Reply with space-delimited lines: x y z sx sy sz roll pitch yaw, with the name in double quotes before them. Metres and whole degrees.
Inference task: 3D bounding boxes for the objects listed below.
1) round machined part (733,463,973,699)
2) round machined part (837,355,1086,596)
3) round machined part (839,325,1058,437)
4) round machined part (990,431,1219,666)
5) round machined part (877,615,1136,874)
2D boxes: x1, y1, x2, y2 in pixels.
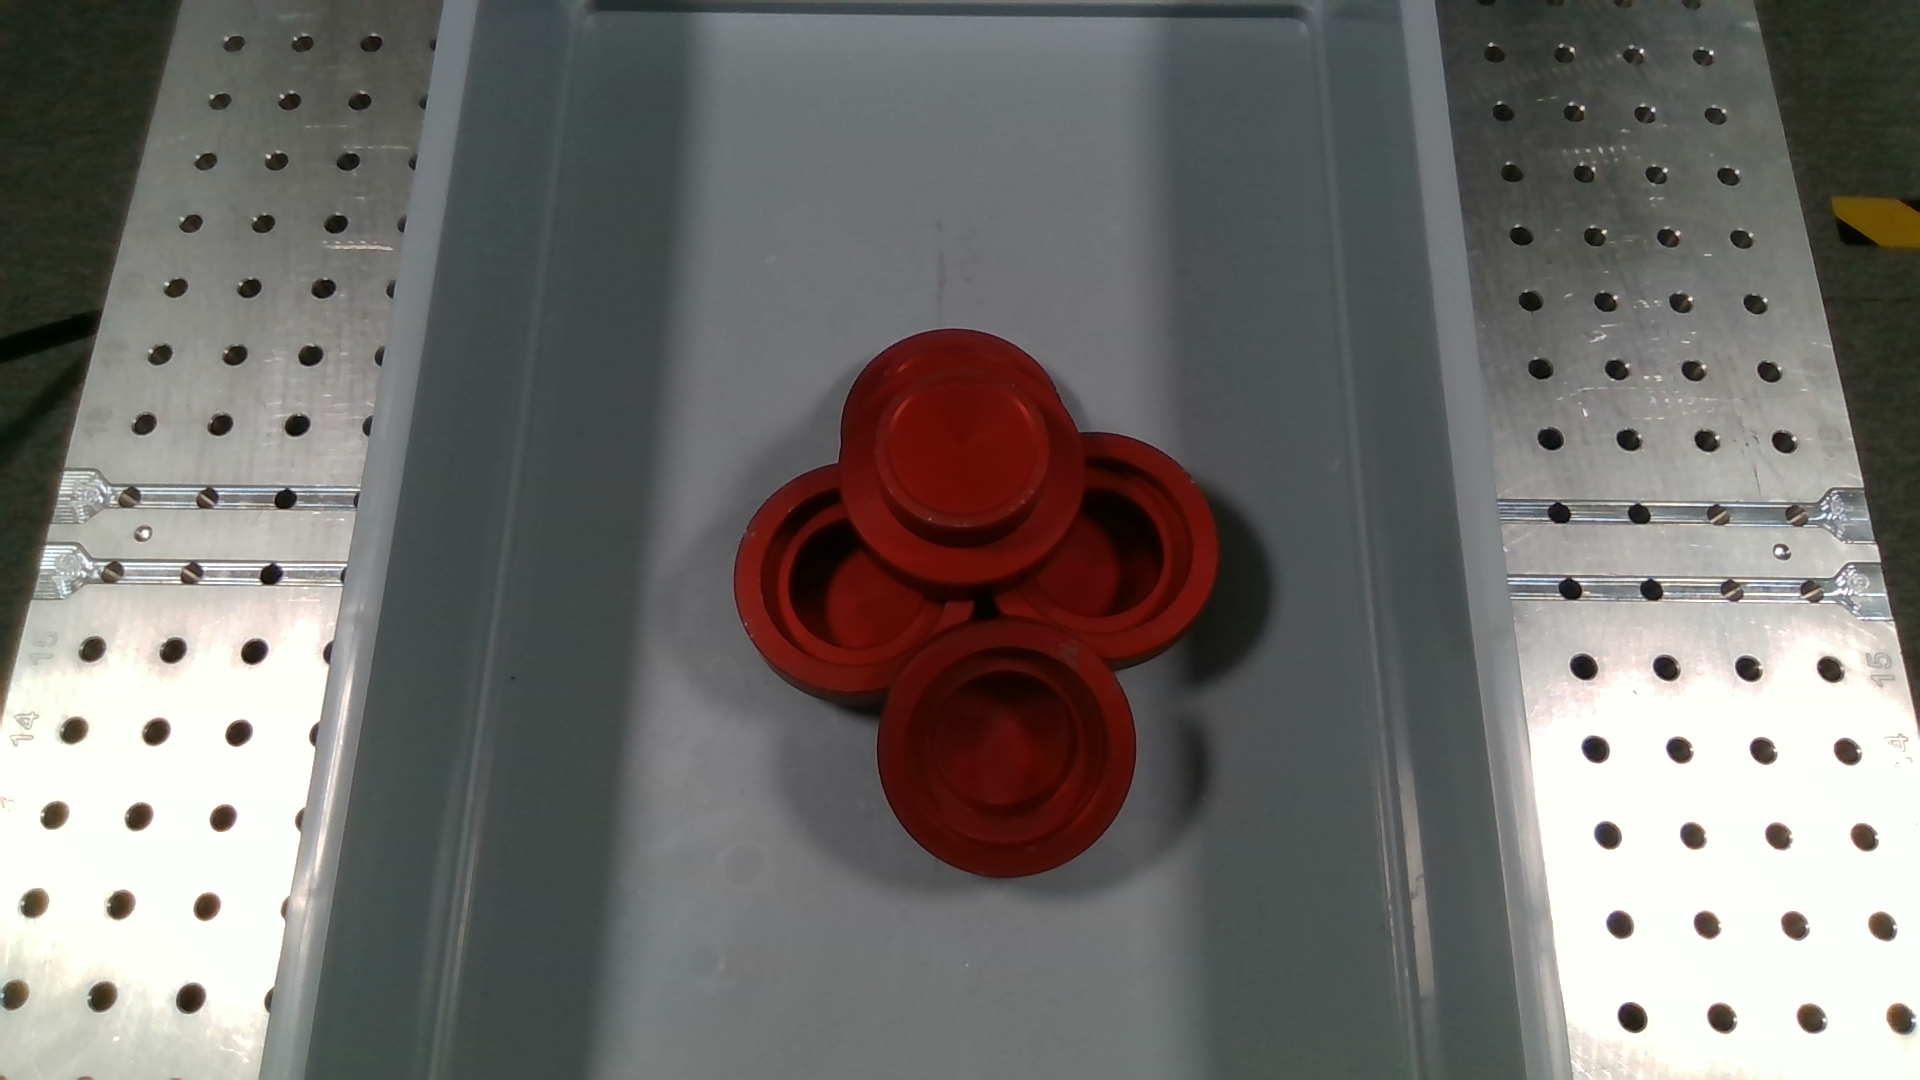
"round machined part" -0.042 0.020 0.571 0.098 0.042 0.098 0 70 0
"round machined part" 0.001 -0.029 0.542 0.098 0.042 0.098 0 70 0
"round machined part" -0.003 -0.050 0.594 0.098 0.042 0.098 0 70 0
"round machined part" 0.056 0.007 0.575 0.098 0.042 0.098 0 70 0
"round machined part" 0.017 0.077 0.539 0.098 0.042 0.098 0 91 -3
